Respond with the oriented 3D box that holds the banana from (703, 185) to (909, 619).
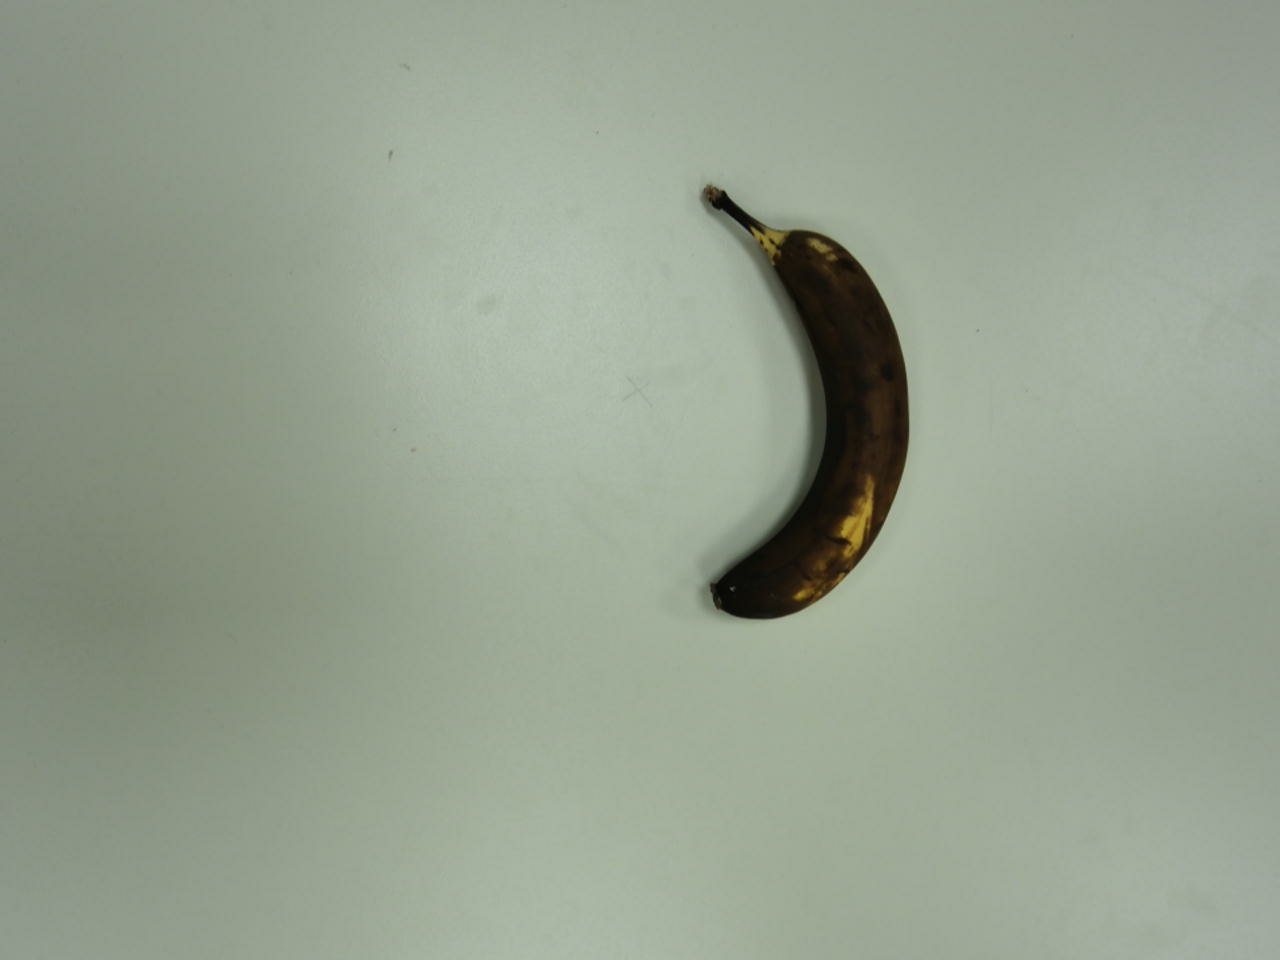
[{"bbox_3d":[0.074,-0.034,0.434,0.091,0.034,0.188,0,91,-11],"label":"banana"}]
